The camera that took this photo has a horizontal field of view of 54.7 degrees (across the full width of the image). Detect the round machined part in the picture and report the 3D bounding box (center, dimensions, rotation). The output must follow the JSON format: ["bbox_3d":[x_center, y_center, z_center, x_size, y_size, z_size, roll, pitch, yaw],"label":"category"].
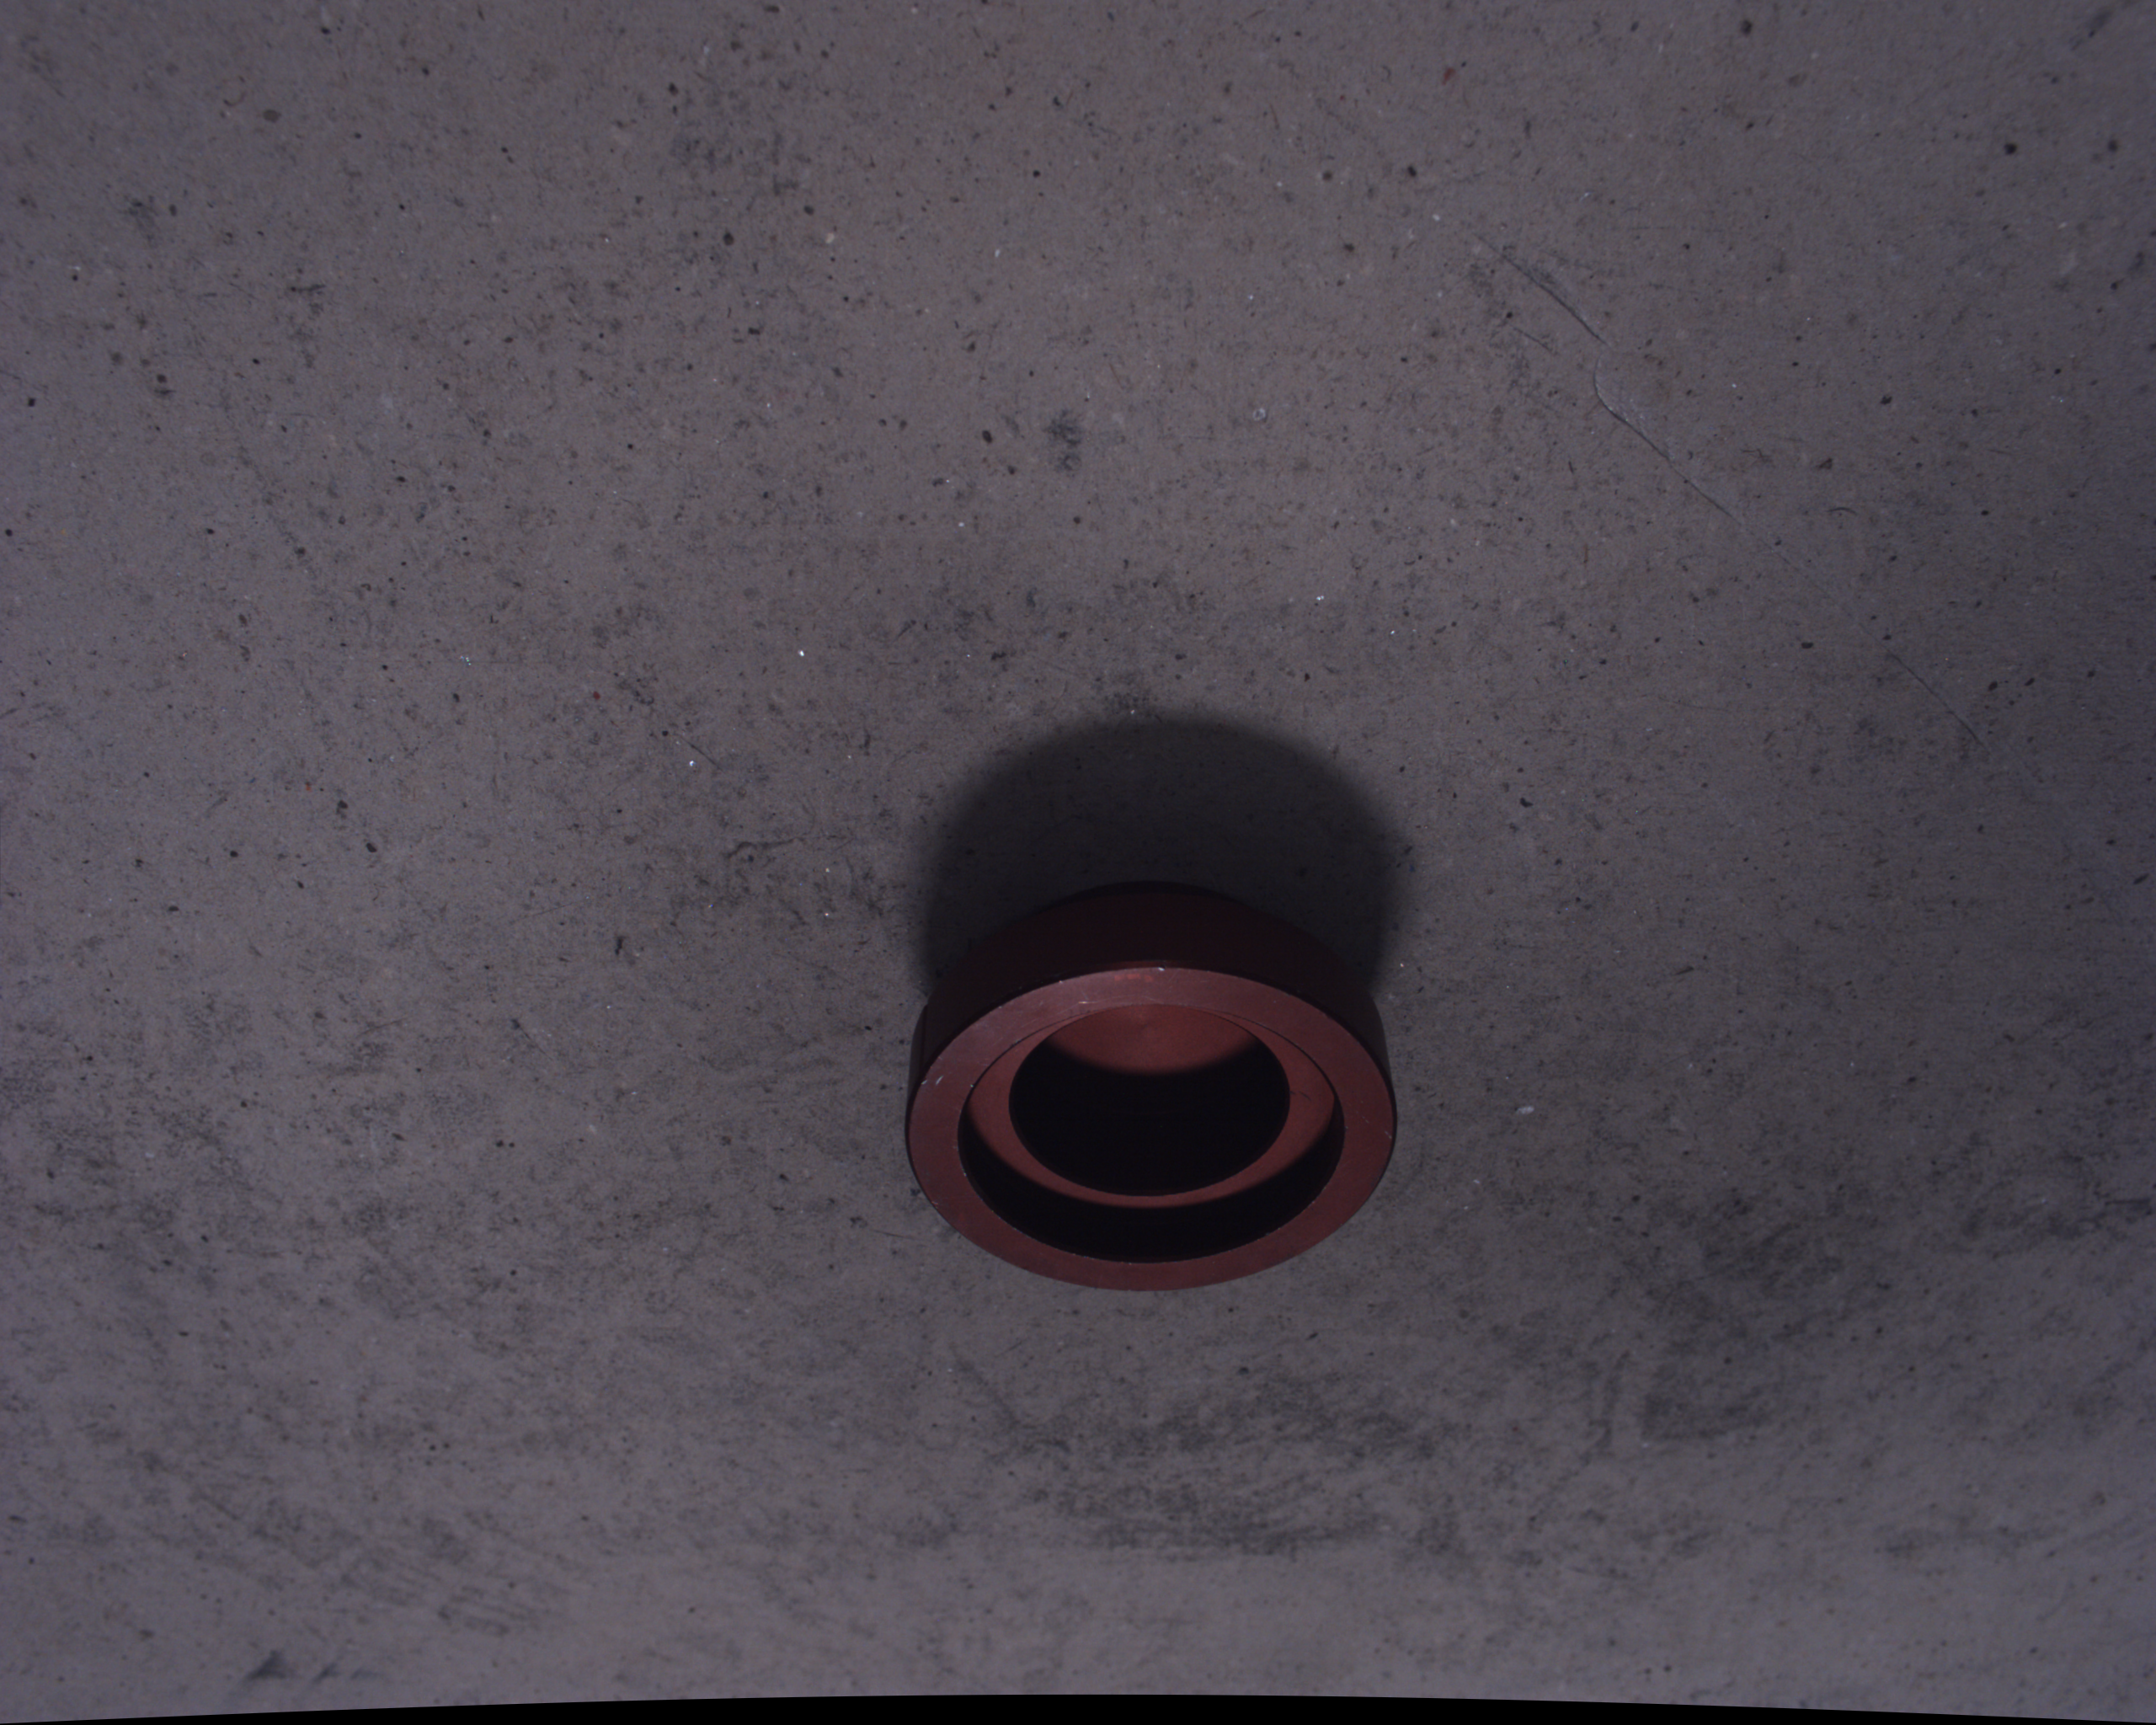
[{"bbox_3d":[0.014,0.042,0.434,0.099,0.042,0.097,-1,130,0],"label":"round machined part"}]
